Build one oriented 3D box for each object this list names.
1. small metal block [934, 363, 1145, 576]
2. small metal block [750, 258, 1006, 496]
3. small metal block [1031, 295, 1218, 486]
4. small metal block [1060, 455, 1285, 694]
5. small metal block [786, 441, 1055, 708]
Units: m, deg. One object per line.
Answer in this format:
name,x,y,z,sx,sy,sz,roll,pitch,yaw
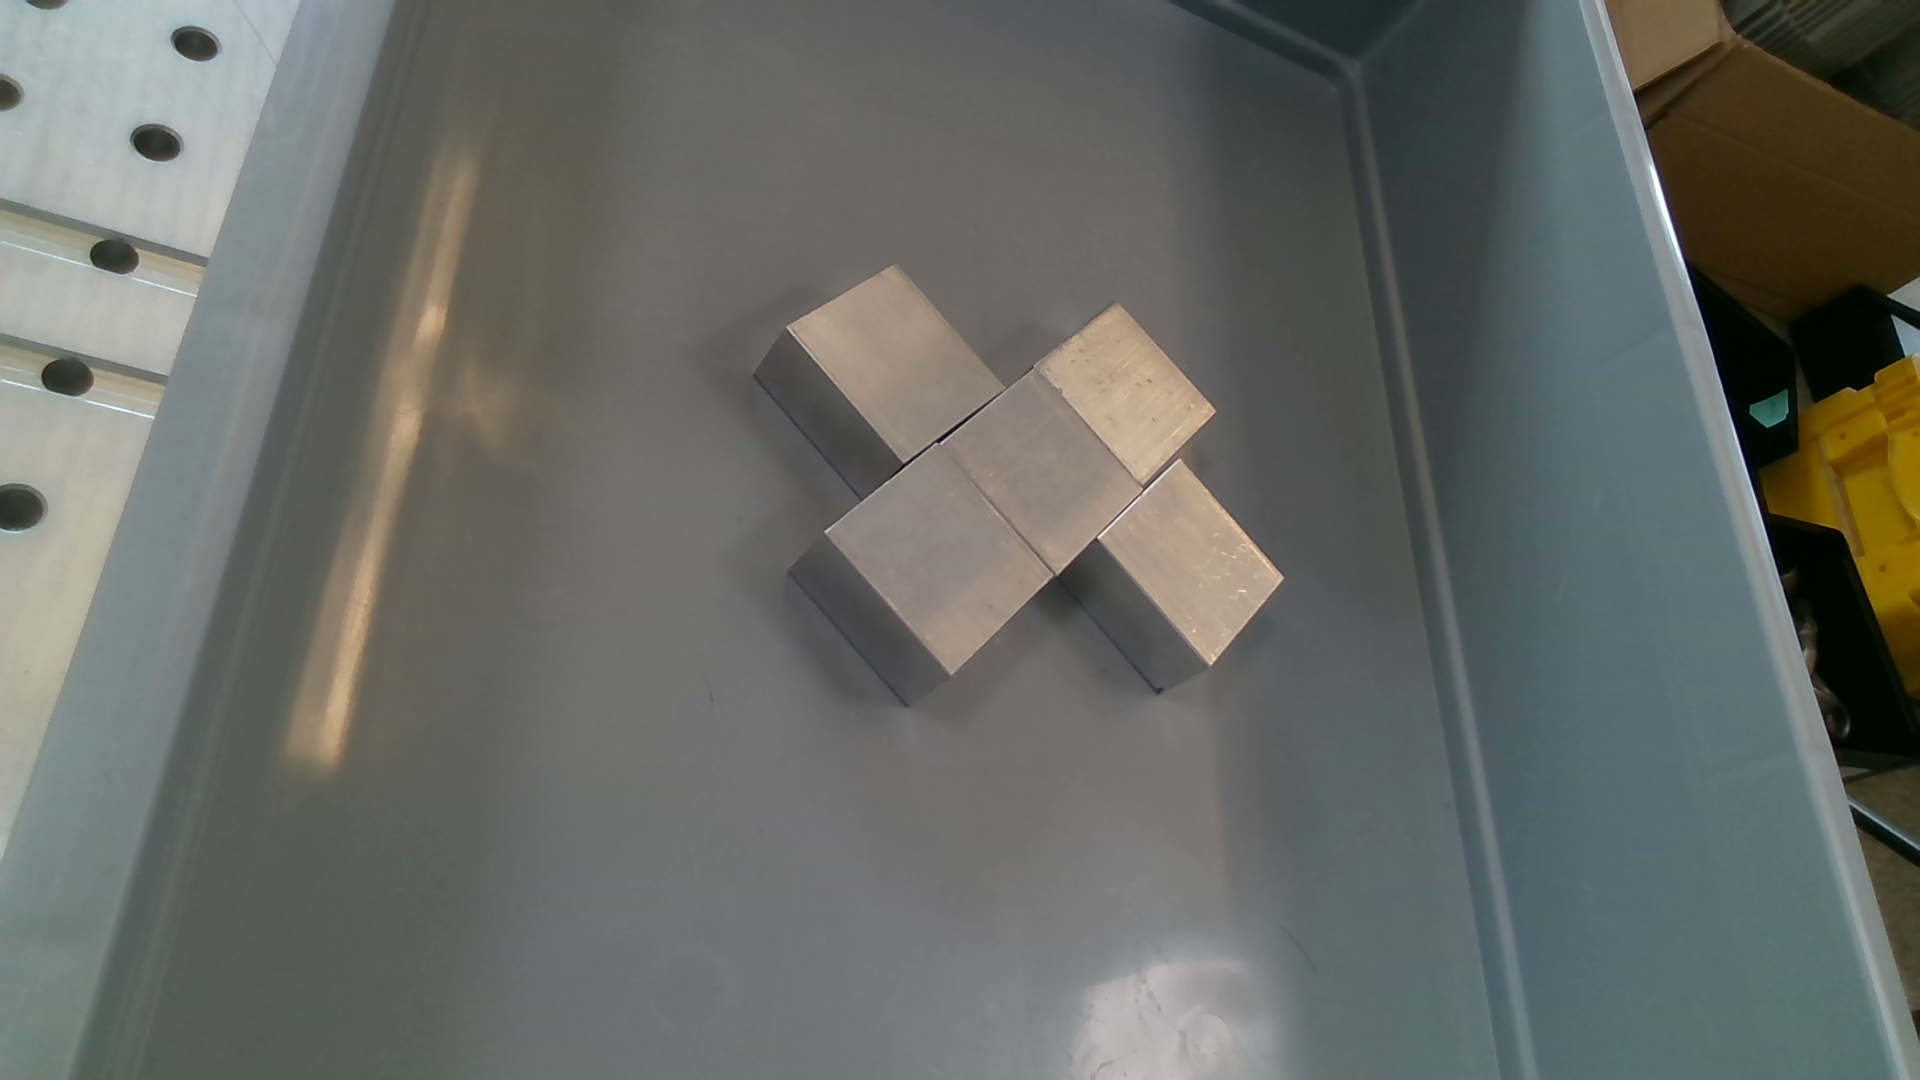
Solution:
small metal block,0.019,-0.017,0.411,0.050,0.025,0.050,49,51,0
small metal block,-0.023,-0.047,0.403,0.050,0.025,0.050,49,51,1
small metal block,0.047,-0.043,0.443,0.050,0.025,0.050,49,51,0
small metal block,0.065,0.010,0.426,0.050,0.025,0.050,49,51,-1
small metal block,-0.010,0.009,0.380,0.050,0.025,0.050,49,51,0
